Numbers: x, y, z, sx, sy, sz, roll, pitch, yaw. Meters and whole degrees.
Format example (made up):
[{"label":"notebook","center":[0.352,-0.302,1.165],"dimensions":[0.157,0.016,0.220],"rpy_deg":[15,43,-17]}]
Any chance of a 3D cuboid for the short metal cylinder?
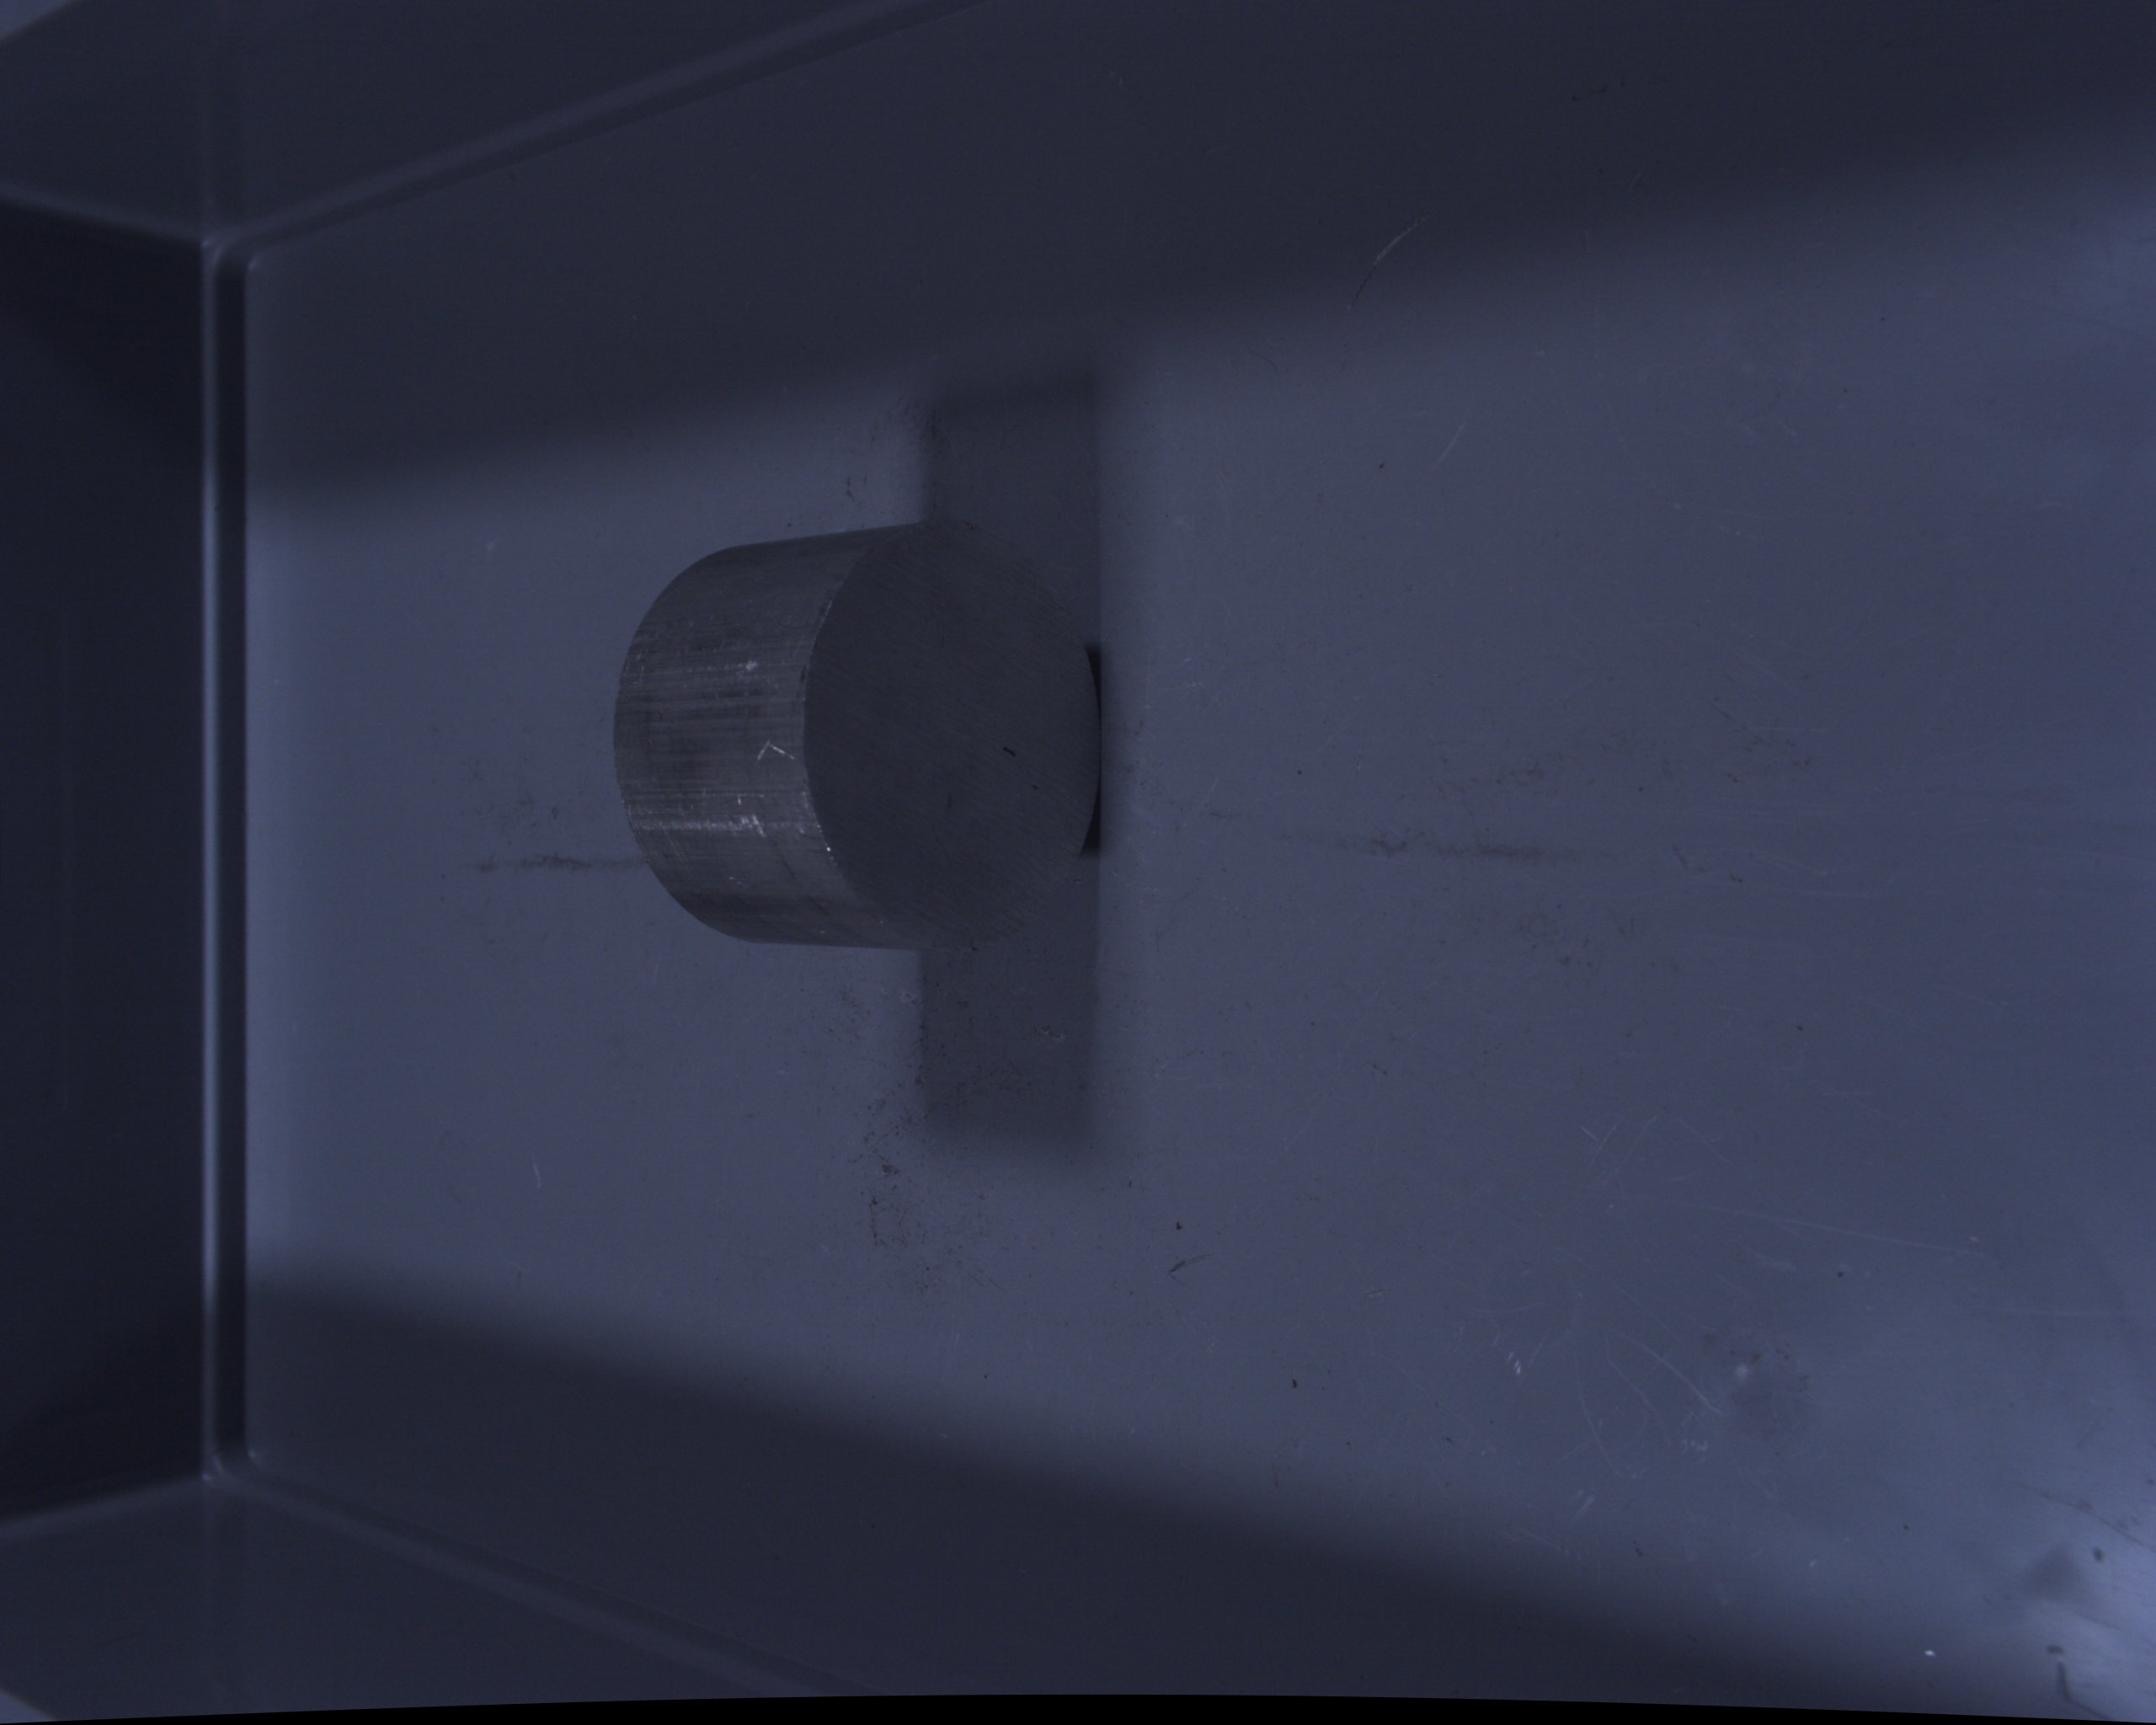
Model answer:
[{"label":"short metal cylinder","center":[-0.040,-0.023,0.399],"dimensions":[0.050,0.081,0.079],"rpy_deg":[0,90,40]}]
